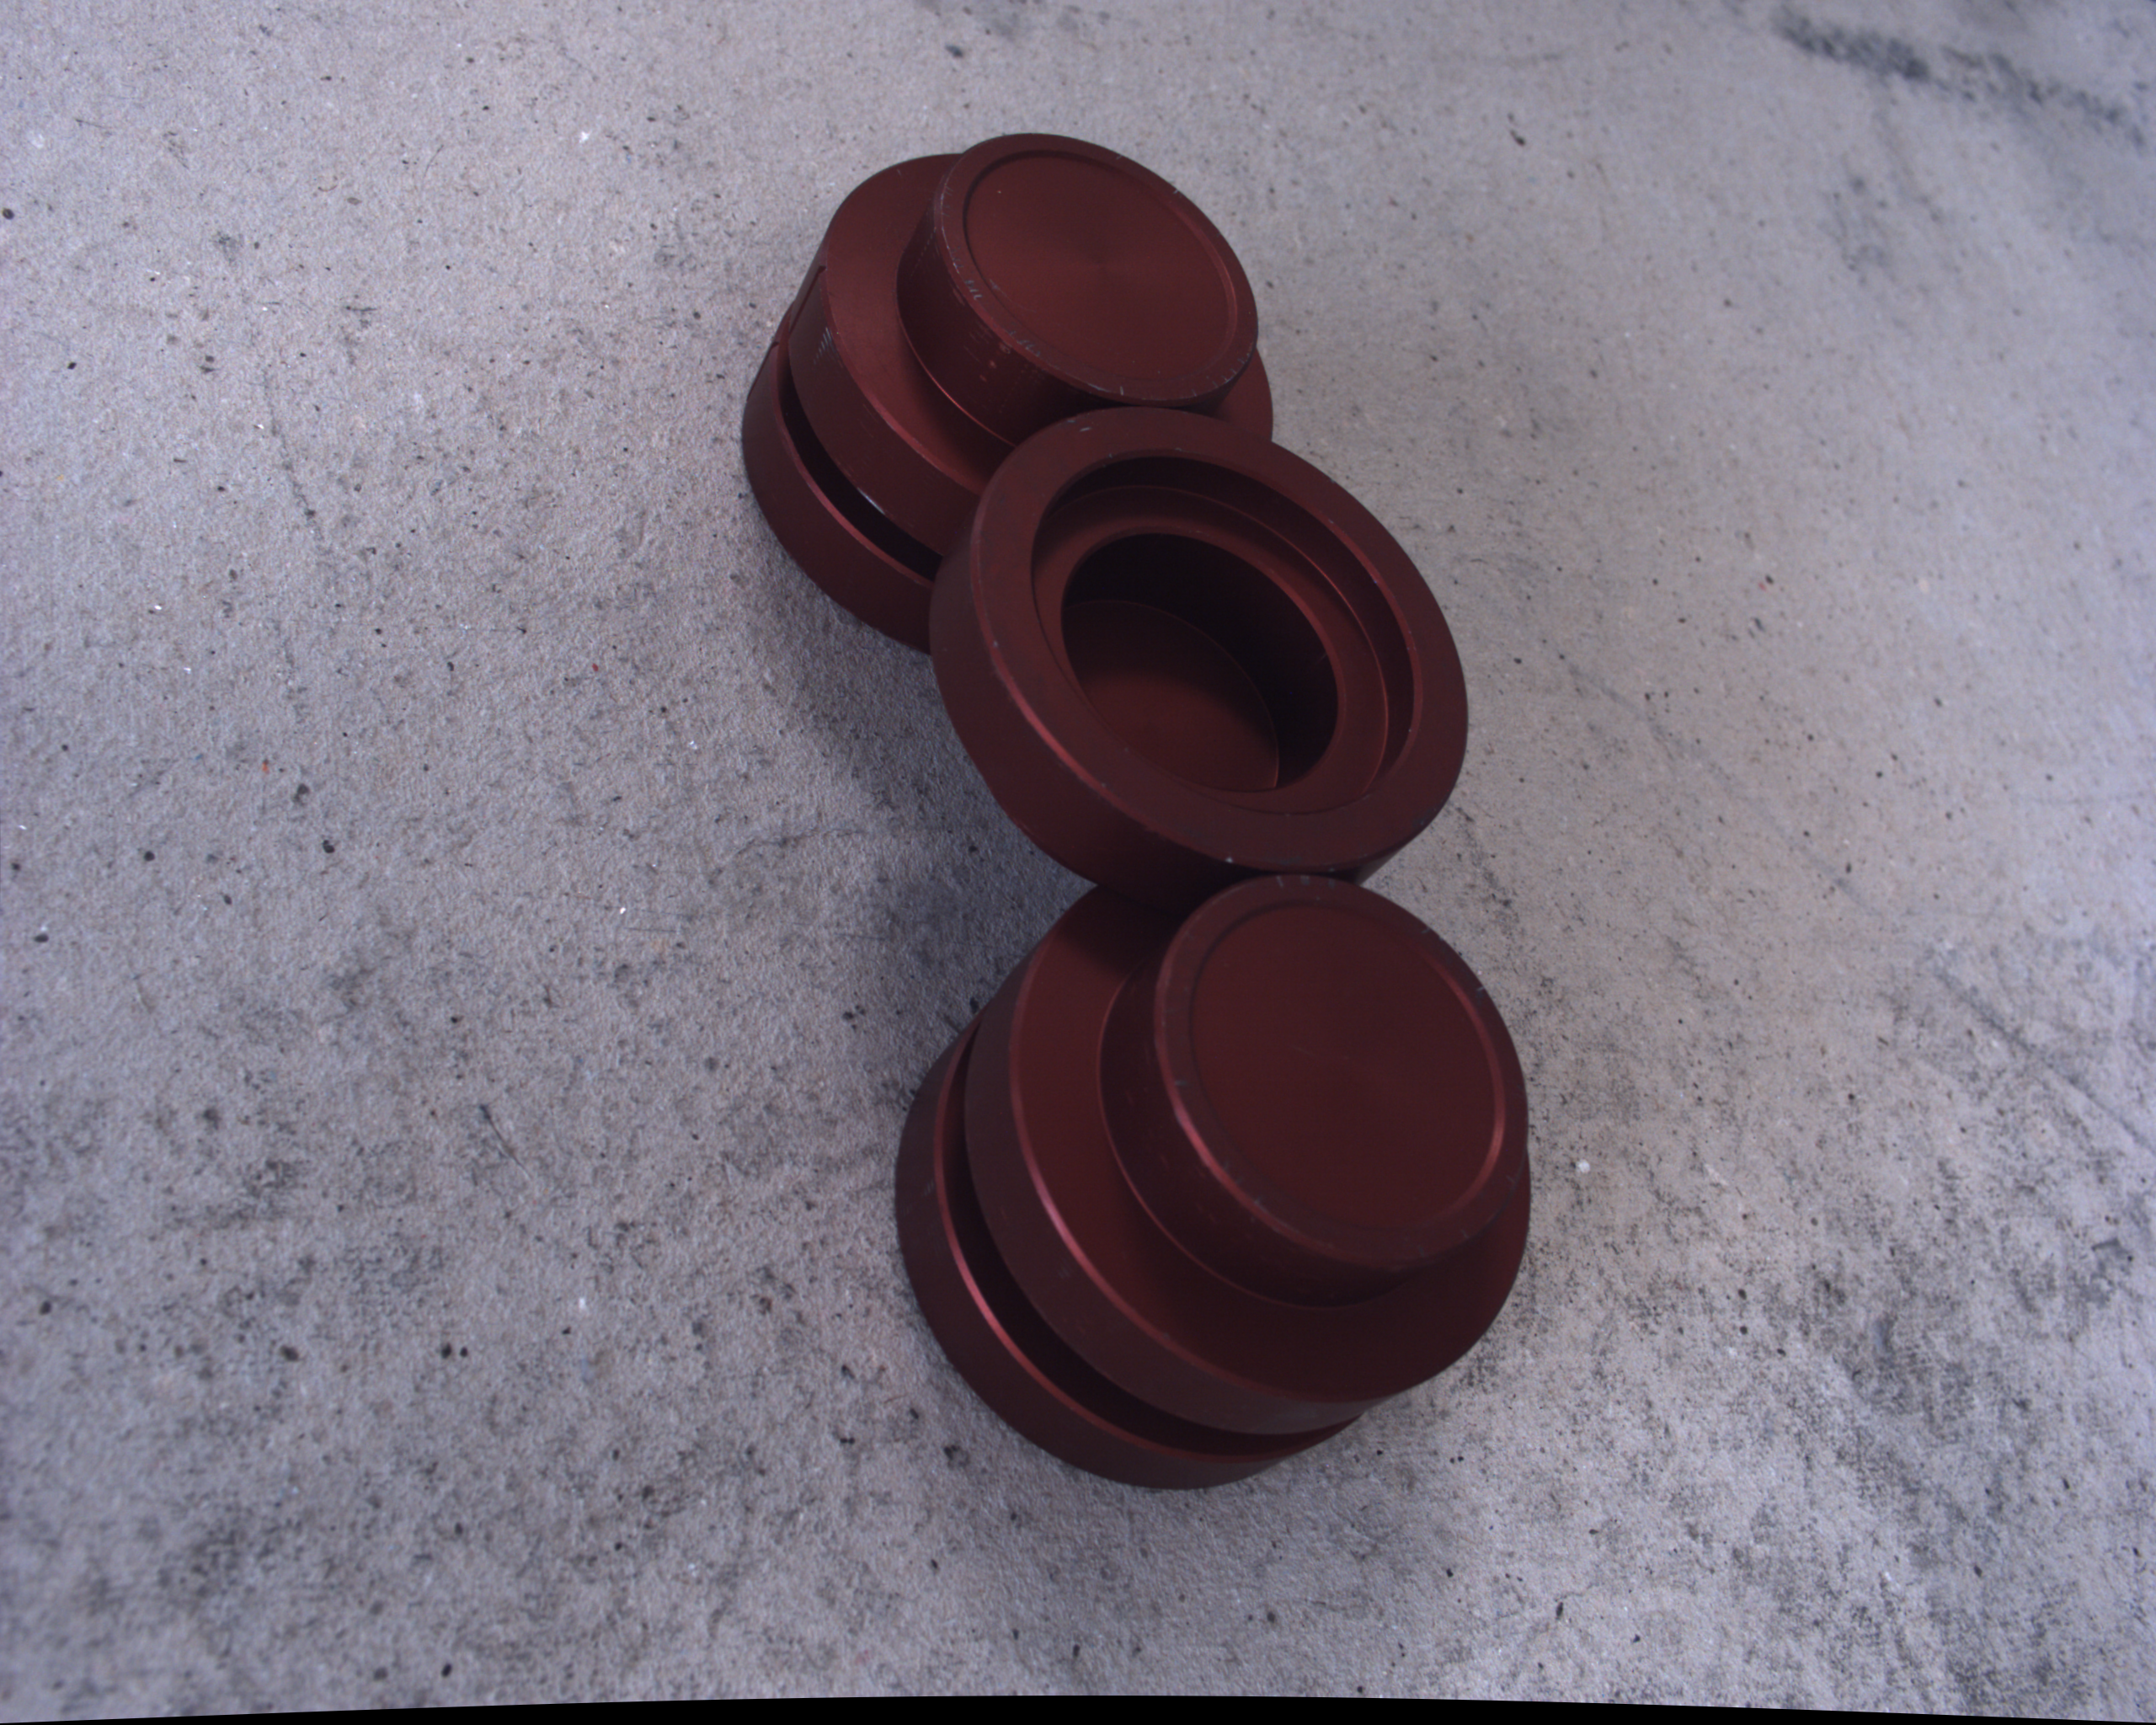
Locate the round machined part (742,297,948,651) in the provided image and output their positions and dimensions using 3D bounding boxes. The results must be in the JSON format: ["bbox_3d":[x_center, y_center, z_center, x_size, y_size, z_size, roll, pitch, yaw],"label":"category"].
[{"bbox_3d":[-0.017,-0.093,0.441,0.099,0.042,0.098,12,57,-20],"label":"round machined part"}]

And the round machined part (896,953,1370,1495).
[{"bbox_3d":[0.021,0.058,0.371,0.099,0.042,0.098,13,55,-20],"label":"round machined part"}]

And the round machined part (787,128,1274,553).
[{"bbox_3d":[-0.004,-0.106,0.414,0.099,0.042,0.098,13,57,-20],"label":"round machined part"}]

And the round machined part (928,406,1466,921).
[{"bbox_3d":[0.018,-0.032,0.383,0.099,0.042,0.098,14,56,-21],"label":"round machined part"}]

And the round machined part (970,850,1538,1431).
[{"bbox_3d":[0.035,0.040,0.346,0.099,0.042,0.098,13,57,-20],"label":"round machined part"}]
